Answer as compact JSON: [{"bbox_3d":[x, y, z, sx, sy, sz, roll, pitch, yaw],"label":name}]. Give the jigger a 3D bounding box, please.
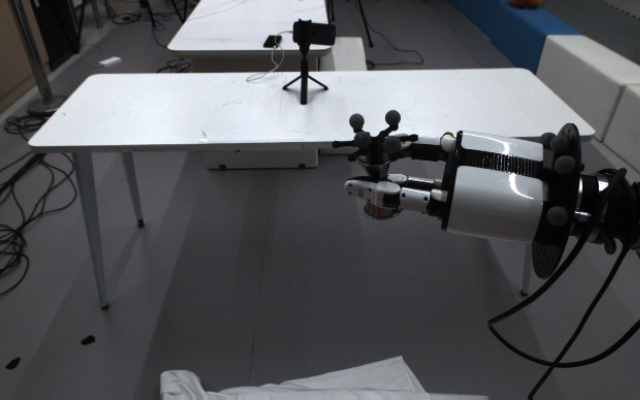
[{"bbox_3d":[0.067,-0.020,0.539,0.043,0.071,0.043,-9,31,5],"label":"jigger"}]
